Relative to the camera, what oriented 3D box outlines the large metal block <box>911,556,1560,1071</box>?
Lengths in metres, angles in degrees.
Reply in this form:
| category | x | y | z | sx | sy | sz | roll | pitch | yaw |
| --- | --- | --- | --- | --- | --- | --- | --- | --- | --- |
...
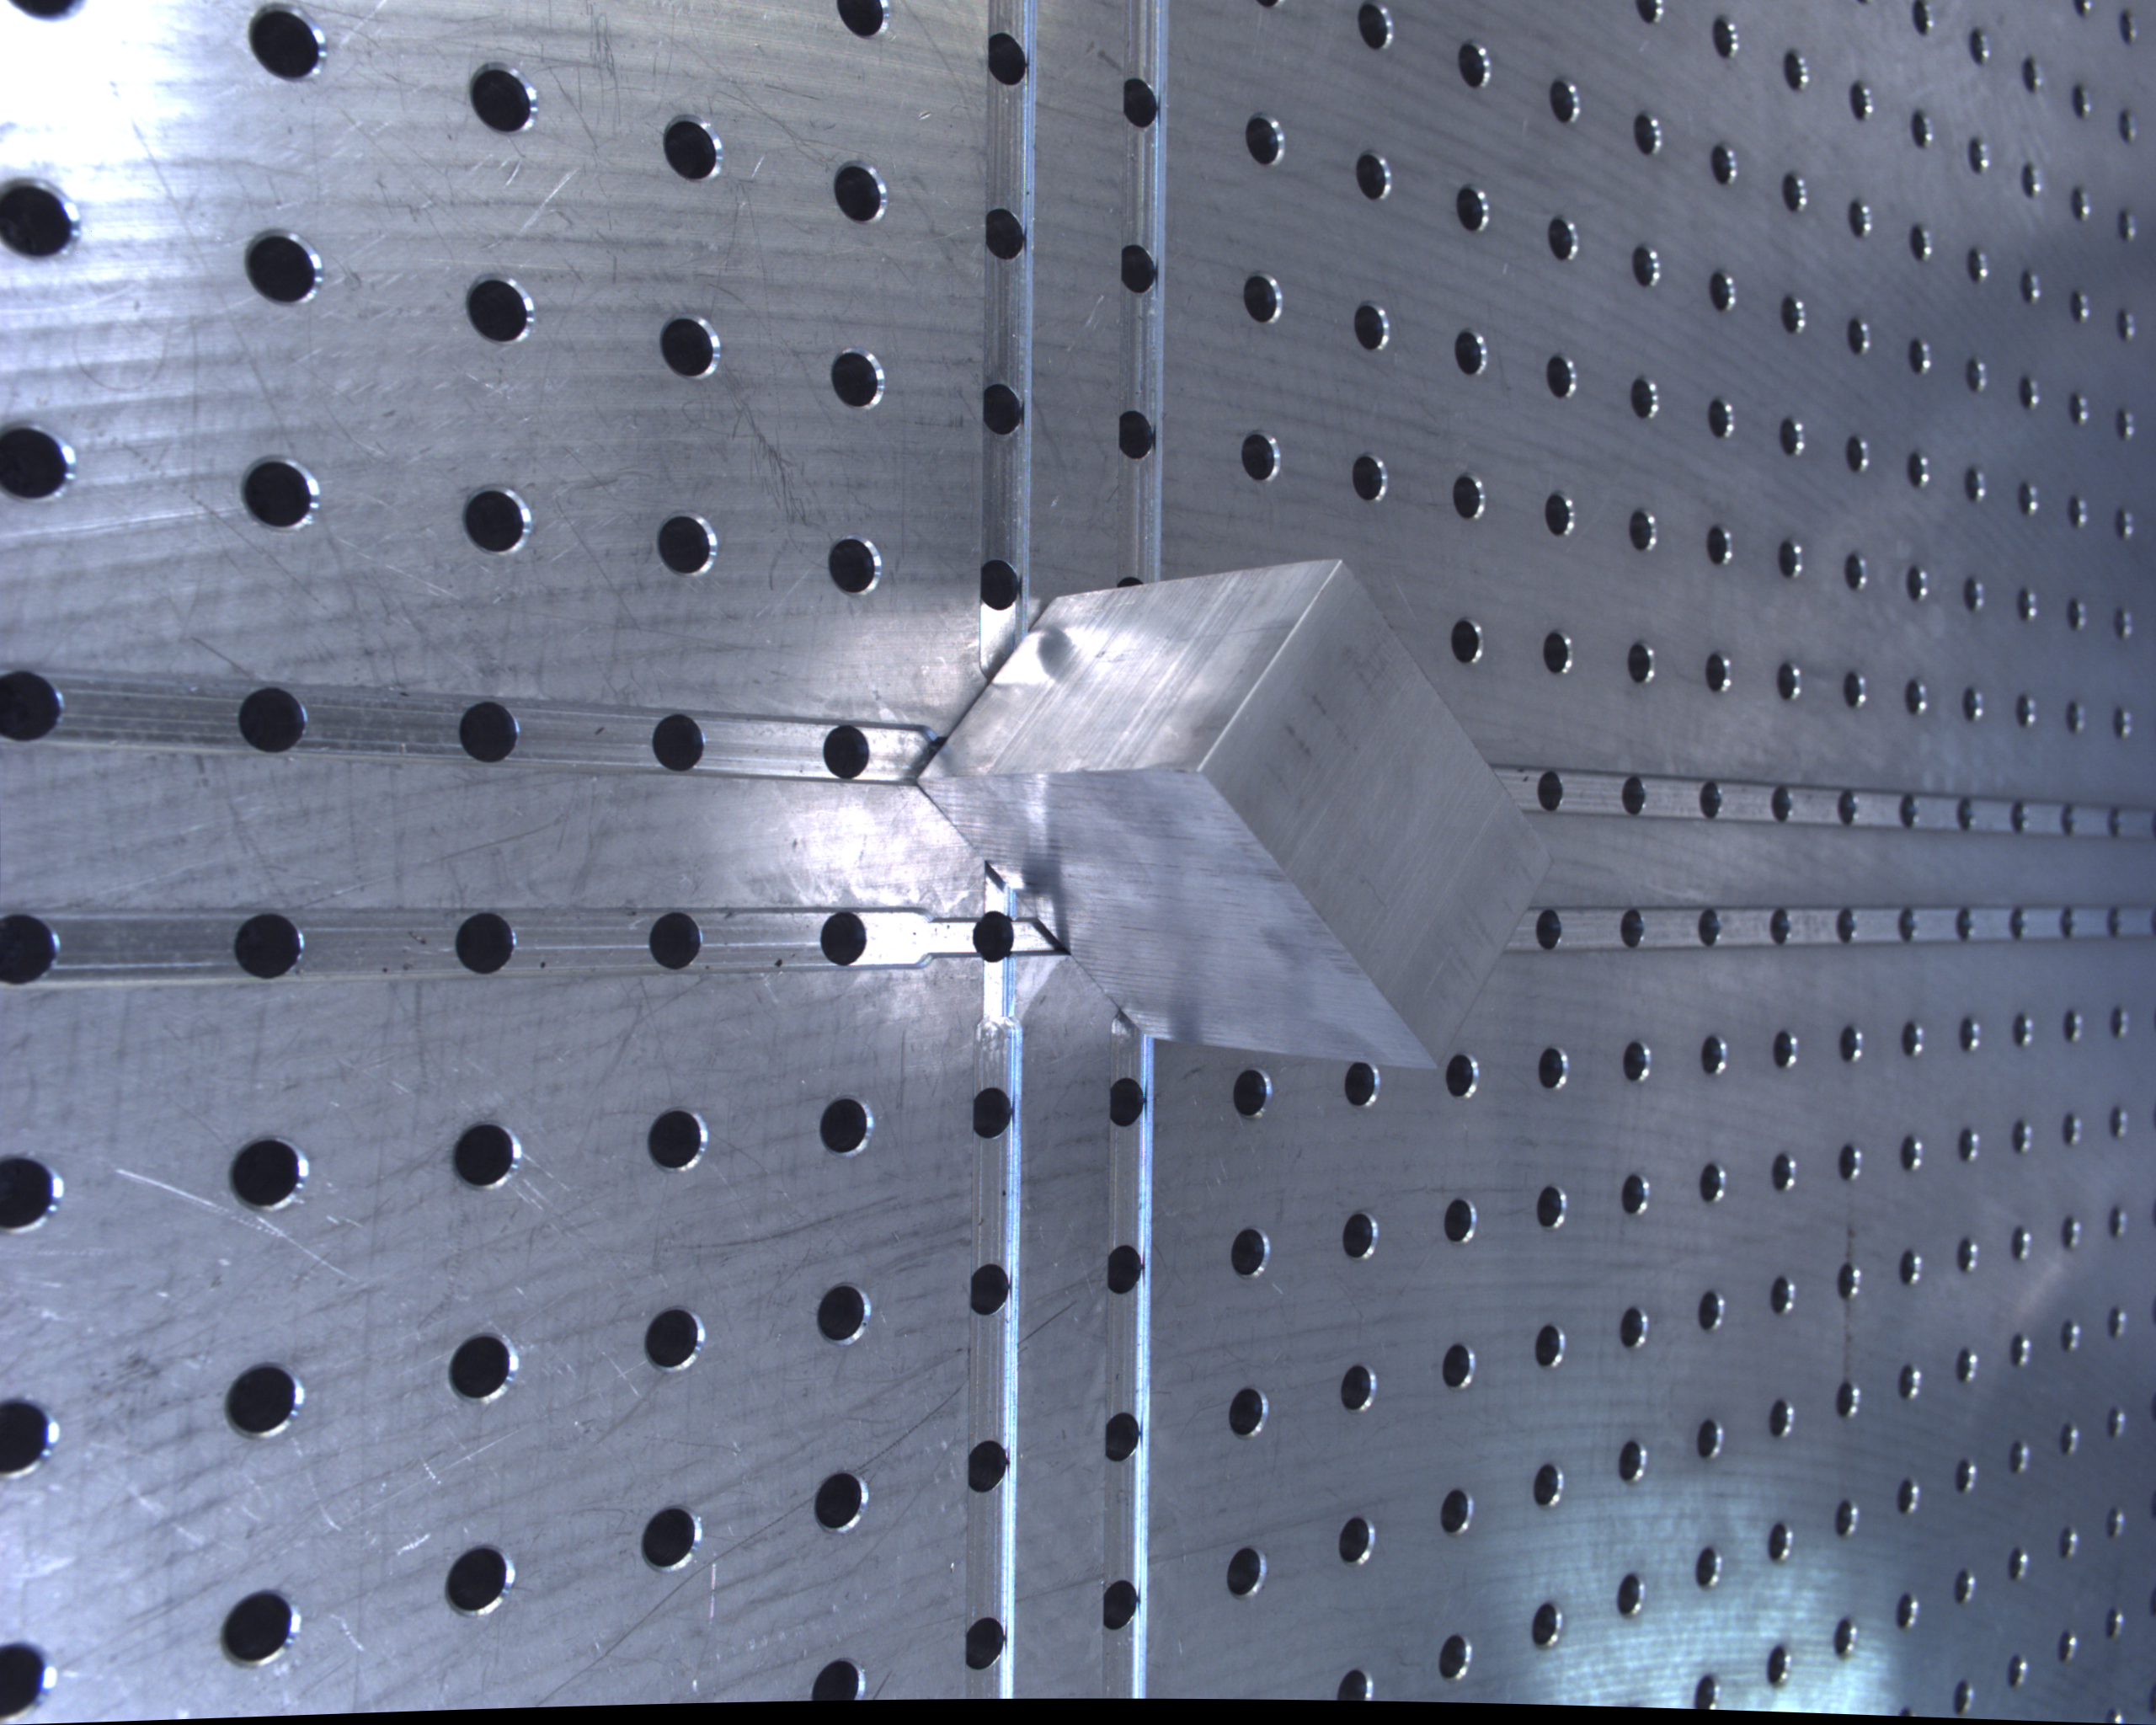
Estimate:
| category | x | y | z | sx | sy | sz | roll | pitch | yaw |
| --- | --- | --- | --- | --- | --- | --- | --- | --- | --- |
| large metal block | 0.030 | -0.008 | 0.397 | 0.080 | 0.080 | 0.050 | 49 | 61 | -29 |
